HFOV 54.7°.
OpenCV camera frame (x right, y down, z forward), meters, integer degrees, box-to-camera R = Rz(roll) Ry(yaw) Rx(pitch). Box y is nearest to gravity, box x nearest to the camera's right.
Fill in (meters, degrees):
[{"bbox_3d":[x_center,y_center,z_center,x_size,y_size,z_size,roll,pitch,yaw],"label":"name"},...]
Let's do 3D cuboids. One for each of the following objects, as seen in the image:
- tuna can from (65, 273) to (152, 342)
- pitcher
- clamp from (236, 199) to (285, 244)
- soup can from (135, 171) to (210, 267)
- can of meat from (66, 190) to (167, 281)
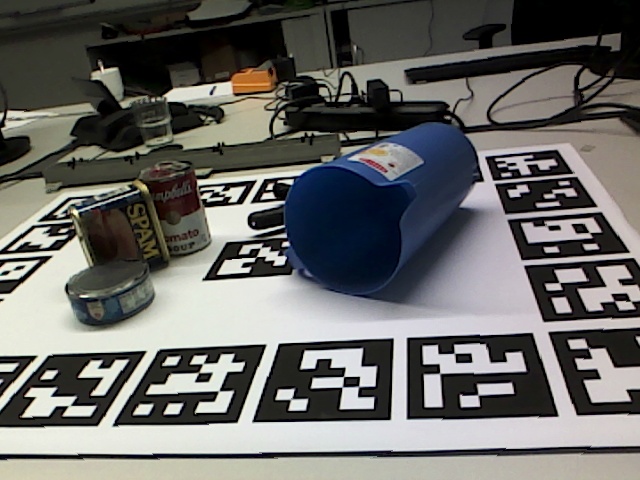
[{"bbox_3d":[-0.226,0.072,0.666,0.086,0.033,0.086,-8,28,4],"label":"tuna can"},{"bbox_3d":[0.071,-0.040,0.673,0.190,0.133,0.241,-18,9,38],"label":"pitcher"},{"bbox_3d":[-0.016,-0.028,0.818,0.165,0.036,0.122,0,23,11],"label":"clamp"},{"bbox_3d":[-0.184,-0.026,0.779,0.068,0.101,0.068,-10,27,5],"label":"soup can"},{"bbox_3d":[-0.239,0.004,0.725,0.083,0.101,0.058,-24,30,-20],"label":"can of meat"}]
